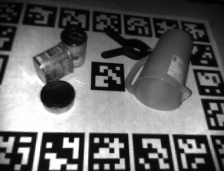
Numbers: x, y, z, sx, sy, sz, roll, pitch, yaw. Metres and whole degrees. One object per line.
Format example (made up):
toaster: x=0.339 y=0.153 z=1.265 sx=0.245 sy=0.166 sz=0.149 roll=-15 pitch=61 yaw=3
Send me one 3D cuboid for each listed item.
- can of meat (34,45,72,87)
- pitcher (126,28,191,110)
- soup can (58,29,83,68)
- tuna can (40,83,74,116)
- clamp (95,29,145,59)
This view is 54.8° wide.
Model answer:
can of meat: x=-0.163 y=-0.050 z=0.589 sx=0.084 sy=0.102 sz=0.057 roll=-34 pitch=72 yaw=-20
pitcher: x=0.151 y=-0.060 z=0.637 sx=0.187 sy=0.134 sz=0.243 roll=9 pitch=50 yaw=20
soup can: x=-0.120 y=-0.106 z=0.634 sx=0.068 sy=0.102 sz=0.067 roll=3 pitch=63 yaw=-5
tuna can: x=-0.147 y=0.039 z=0.586 sx=0.086 sy=0.034 sz=0.085 roll=5 pitch=63 yaw=-8
clamp: x=0.028 y=-0.131 z=0.723 sx=0.166 sy=0.036 sz=0.121 roll=6 pitch=57 yaw=-12
